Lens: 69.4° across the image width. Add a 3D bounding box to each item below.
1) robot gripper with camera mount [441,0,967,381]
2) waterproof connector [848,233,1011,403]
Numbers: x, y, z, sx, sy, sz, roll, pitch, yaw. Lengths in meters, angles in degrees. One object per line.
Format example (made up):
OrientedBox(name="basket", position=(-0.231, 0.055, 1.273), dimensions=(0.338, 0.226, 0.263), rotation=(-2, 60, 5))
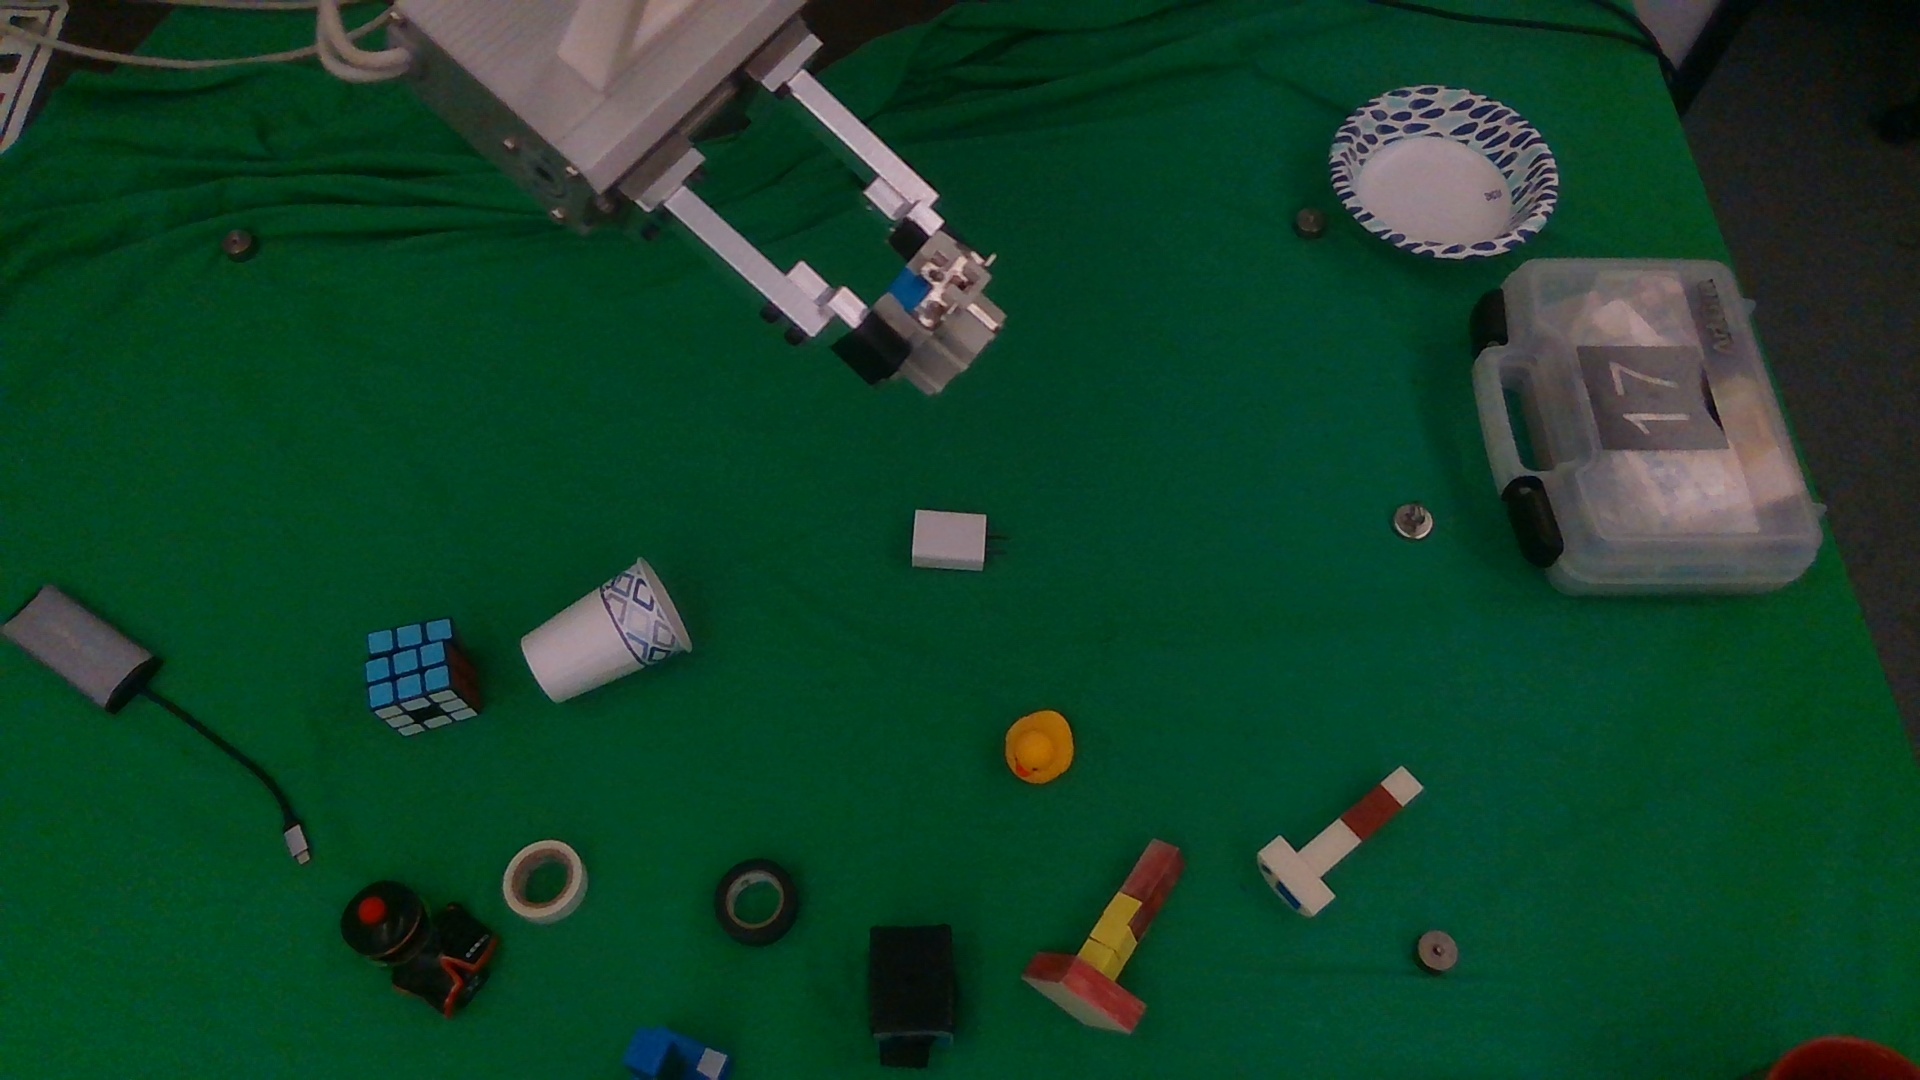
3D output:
OrientedBox(name="robot gripper with camera mount", position=(-0.028, -0.145, 0.374), dimensions=(0.158, 0.194, 0.119), rotation=(44, 61, -8))
OrientedBox(name="waterproof connector", position=(-0.008, -0.070, 0.455), dimensions=(0.037, 0.065, 0.035), rotation=(38, 61, -7))
